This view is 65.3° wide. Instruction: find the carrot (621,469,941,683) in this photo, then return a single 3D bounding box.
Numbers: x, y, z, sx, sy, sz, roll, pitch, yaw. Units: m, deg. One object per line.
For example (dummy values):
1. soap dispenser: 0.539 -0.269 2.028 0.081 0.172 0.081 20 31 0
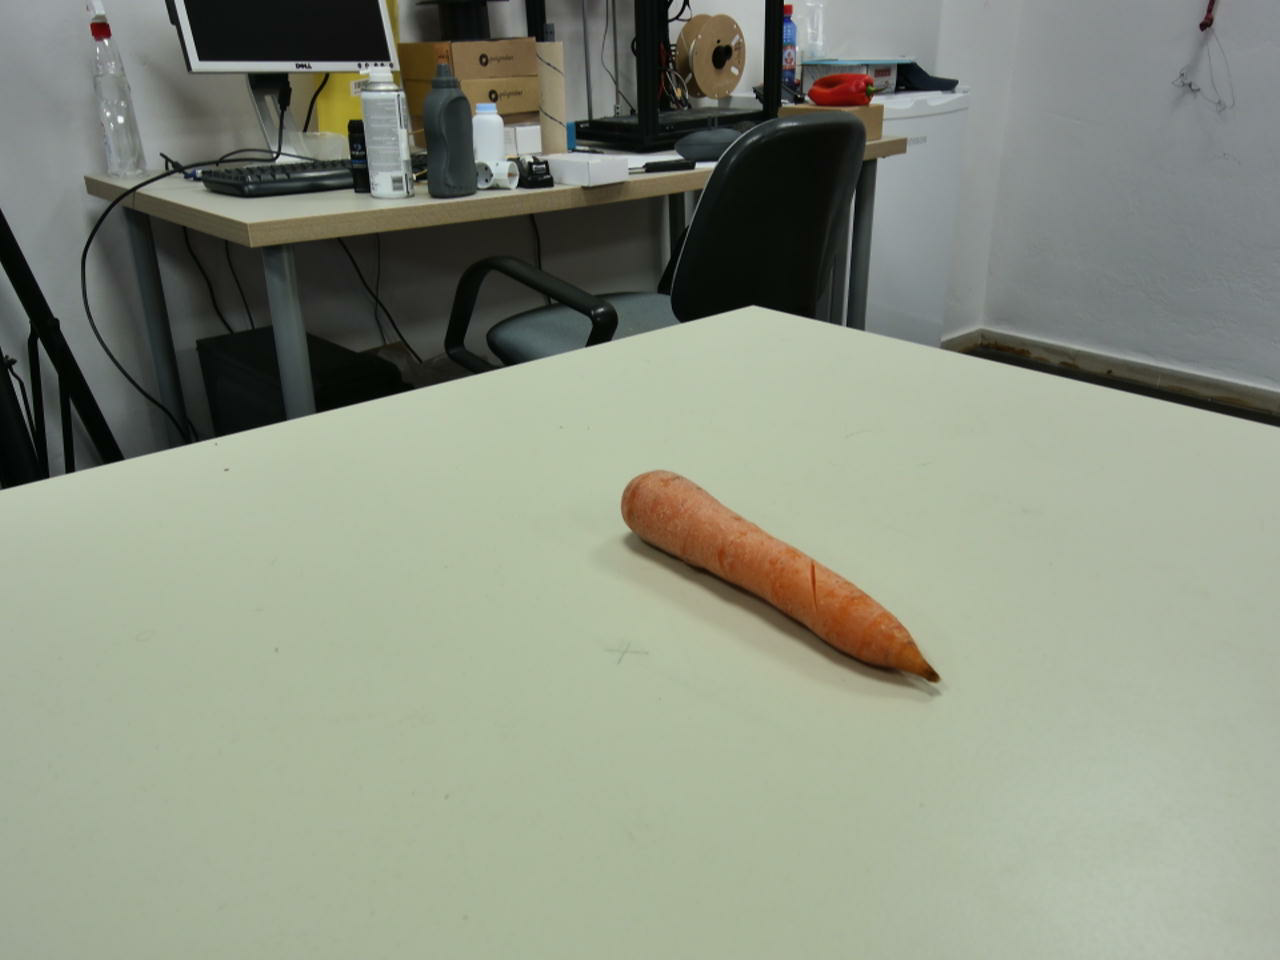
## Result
1. carrot: 0.060 0.038 0.467 0.039 0.041 0.196 -17 28 -36
